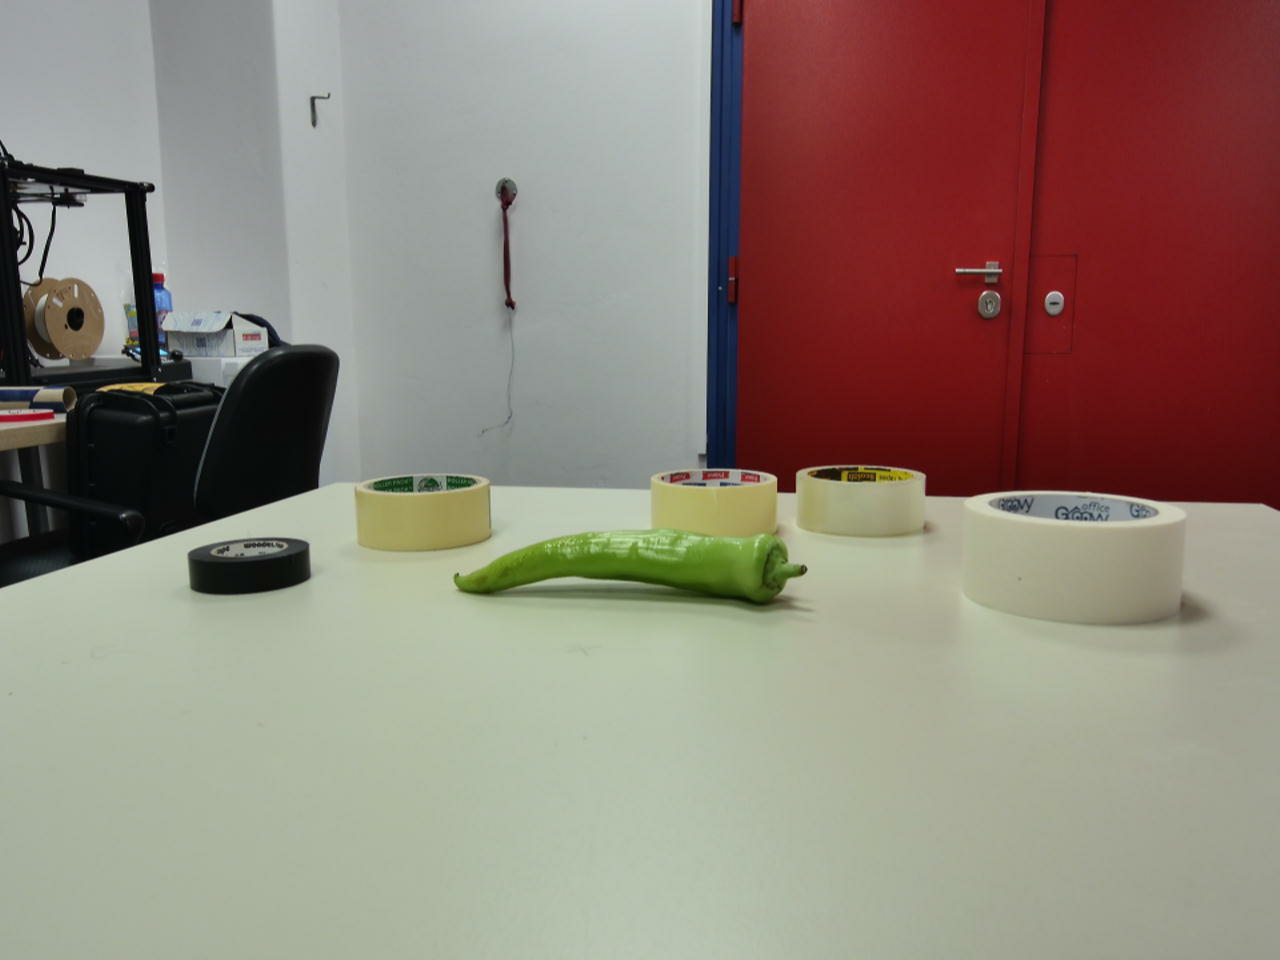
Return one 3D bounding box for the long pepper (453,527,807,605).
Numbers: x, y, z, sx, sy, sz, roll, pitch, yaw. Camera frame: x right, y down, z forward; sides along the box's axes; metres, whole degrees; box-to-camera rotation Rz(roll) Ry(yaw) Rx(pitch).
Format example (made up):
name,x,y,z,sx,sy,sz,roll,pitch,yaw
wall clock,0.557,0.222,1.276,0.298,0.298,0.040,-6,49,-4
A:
name,x,y,z,sx,sy,sz,roll,pitch,yaw
long pepper,-0.007,0.044,0.546,0.197,0.038,0.046,2,6,14
